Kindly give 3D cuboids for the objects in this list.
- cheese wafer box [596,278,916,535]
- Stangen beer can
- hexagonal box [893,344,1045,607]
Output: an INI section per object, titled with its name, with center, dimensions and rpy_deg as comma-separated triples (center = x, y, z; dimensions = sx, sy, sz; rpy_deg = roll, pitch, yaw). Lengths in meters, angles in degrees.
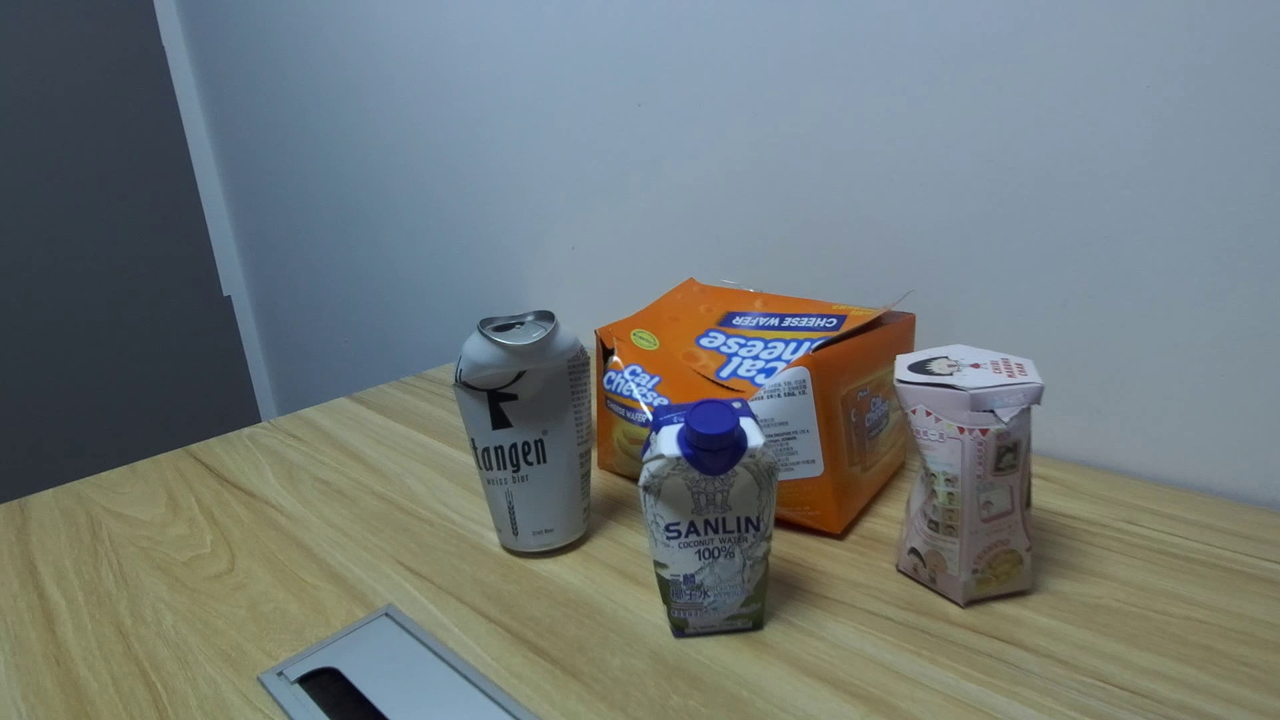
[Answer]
[cheese wafer box]
center = 0.082, 0.024, 0.563
dimensions = 0.218, 0.145, 0.192
rpy_deg = 10, 23, 36
[Stangen beer can]
center = -0.075, 0.051, 0.487
dimensions = 0.065, 0.162, 0.077
rpy_deg = 10, 24, 36
[hexagonal box]
center = 0.195, 0.067, 0.432
dimensions = 0.091, 0.134, 0.089
rpy_deg = -14, 18, -26
